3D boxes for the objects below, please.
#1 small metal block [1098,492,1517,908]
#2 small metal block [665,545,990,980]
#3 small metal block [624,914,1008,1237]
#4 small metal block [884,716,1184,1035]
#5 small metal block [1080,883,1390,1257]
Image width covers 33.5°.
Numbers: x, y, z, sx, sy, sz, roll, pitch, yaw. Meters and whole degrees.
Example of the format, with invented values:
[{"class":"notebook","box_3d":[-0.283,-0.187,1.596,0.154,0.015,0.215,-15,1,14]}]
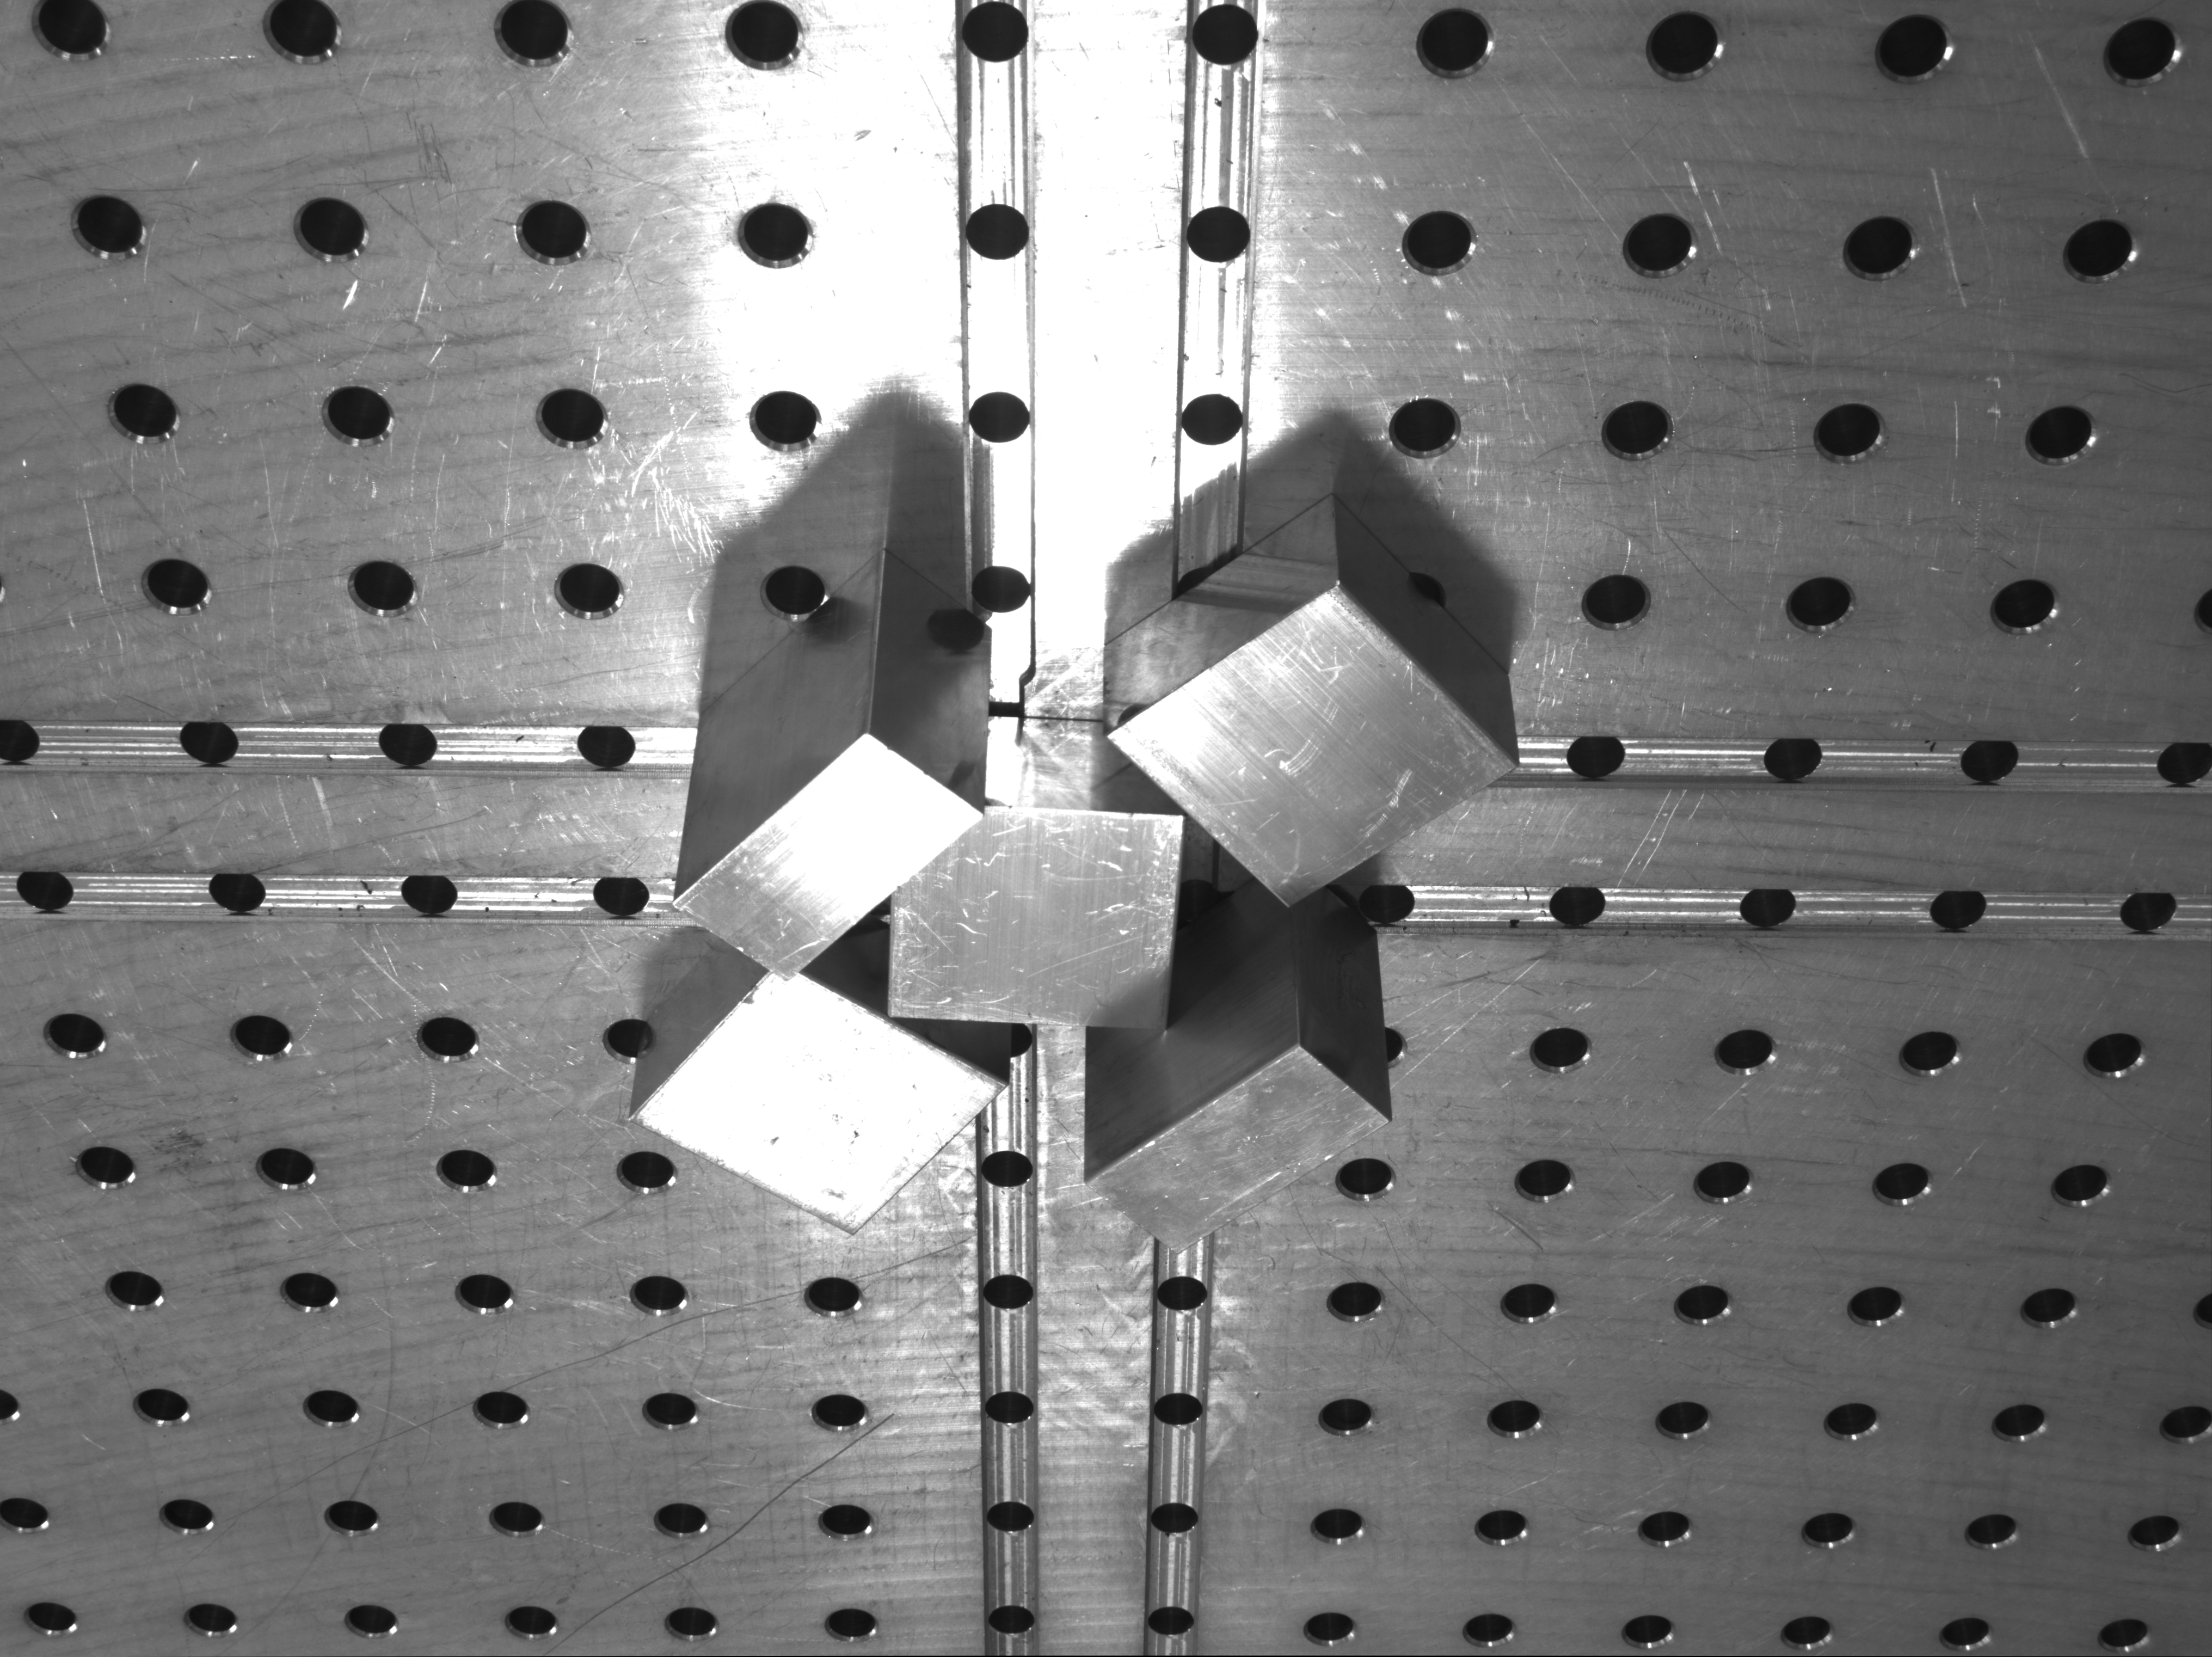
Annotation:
[{"class":"small metal block","box_3d":[0.034,-0.021,0.625,0.050,0.025,0.050,-33,123,25]},{"class":"small metal block","box_3d":[-0.046,-0.011,0.617,0.025,0.050,0.050,36,122,-27]},{"class":"small metal block","box_3d":[-0.053,0.042,0.678,0.050,0.025,0.050,30,123,-24]},{"class":"small metal block","box_3d":[-0.013,0.008,0.649,0.050,0.025,0.050,3,129,-1]},{"class":"small metal block","box_3d":[0.022,0.041,0.660,0.050,0.050,0.025,-35,121,26]}]
